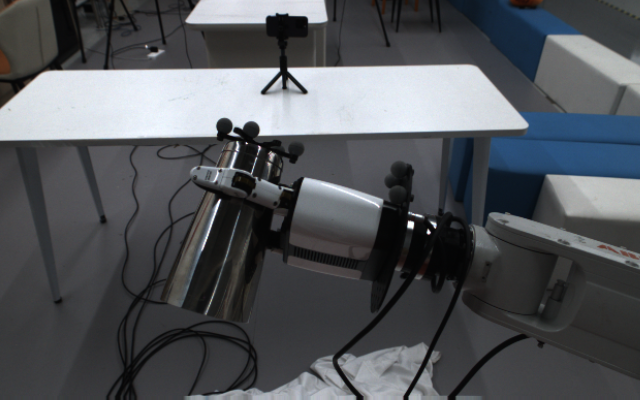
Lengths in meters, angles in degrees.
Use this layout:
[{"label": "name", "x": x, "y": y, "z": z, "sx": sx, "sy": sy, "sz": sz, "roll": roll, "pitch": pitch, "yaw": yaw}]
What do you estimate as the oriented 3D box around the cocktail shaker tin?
[{"label": "cocktail shaker tin", "x": -0.089, "y": 0.029, "z": 0.501, "sx": 0.093, "sy": 0.093, "sz": 0.170, "roll": 13, "pitch": 79, "yaw": 15}]
